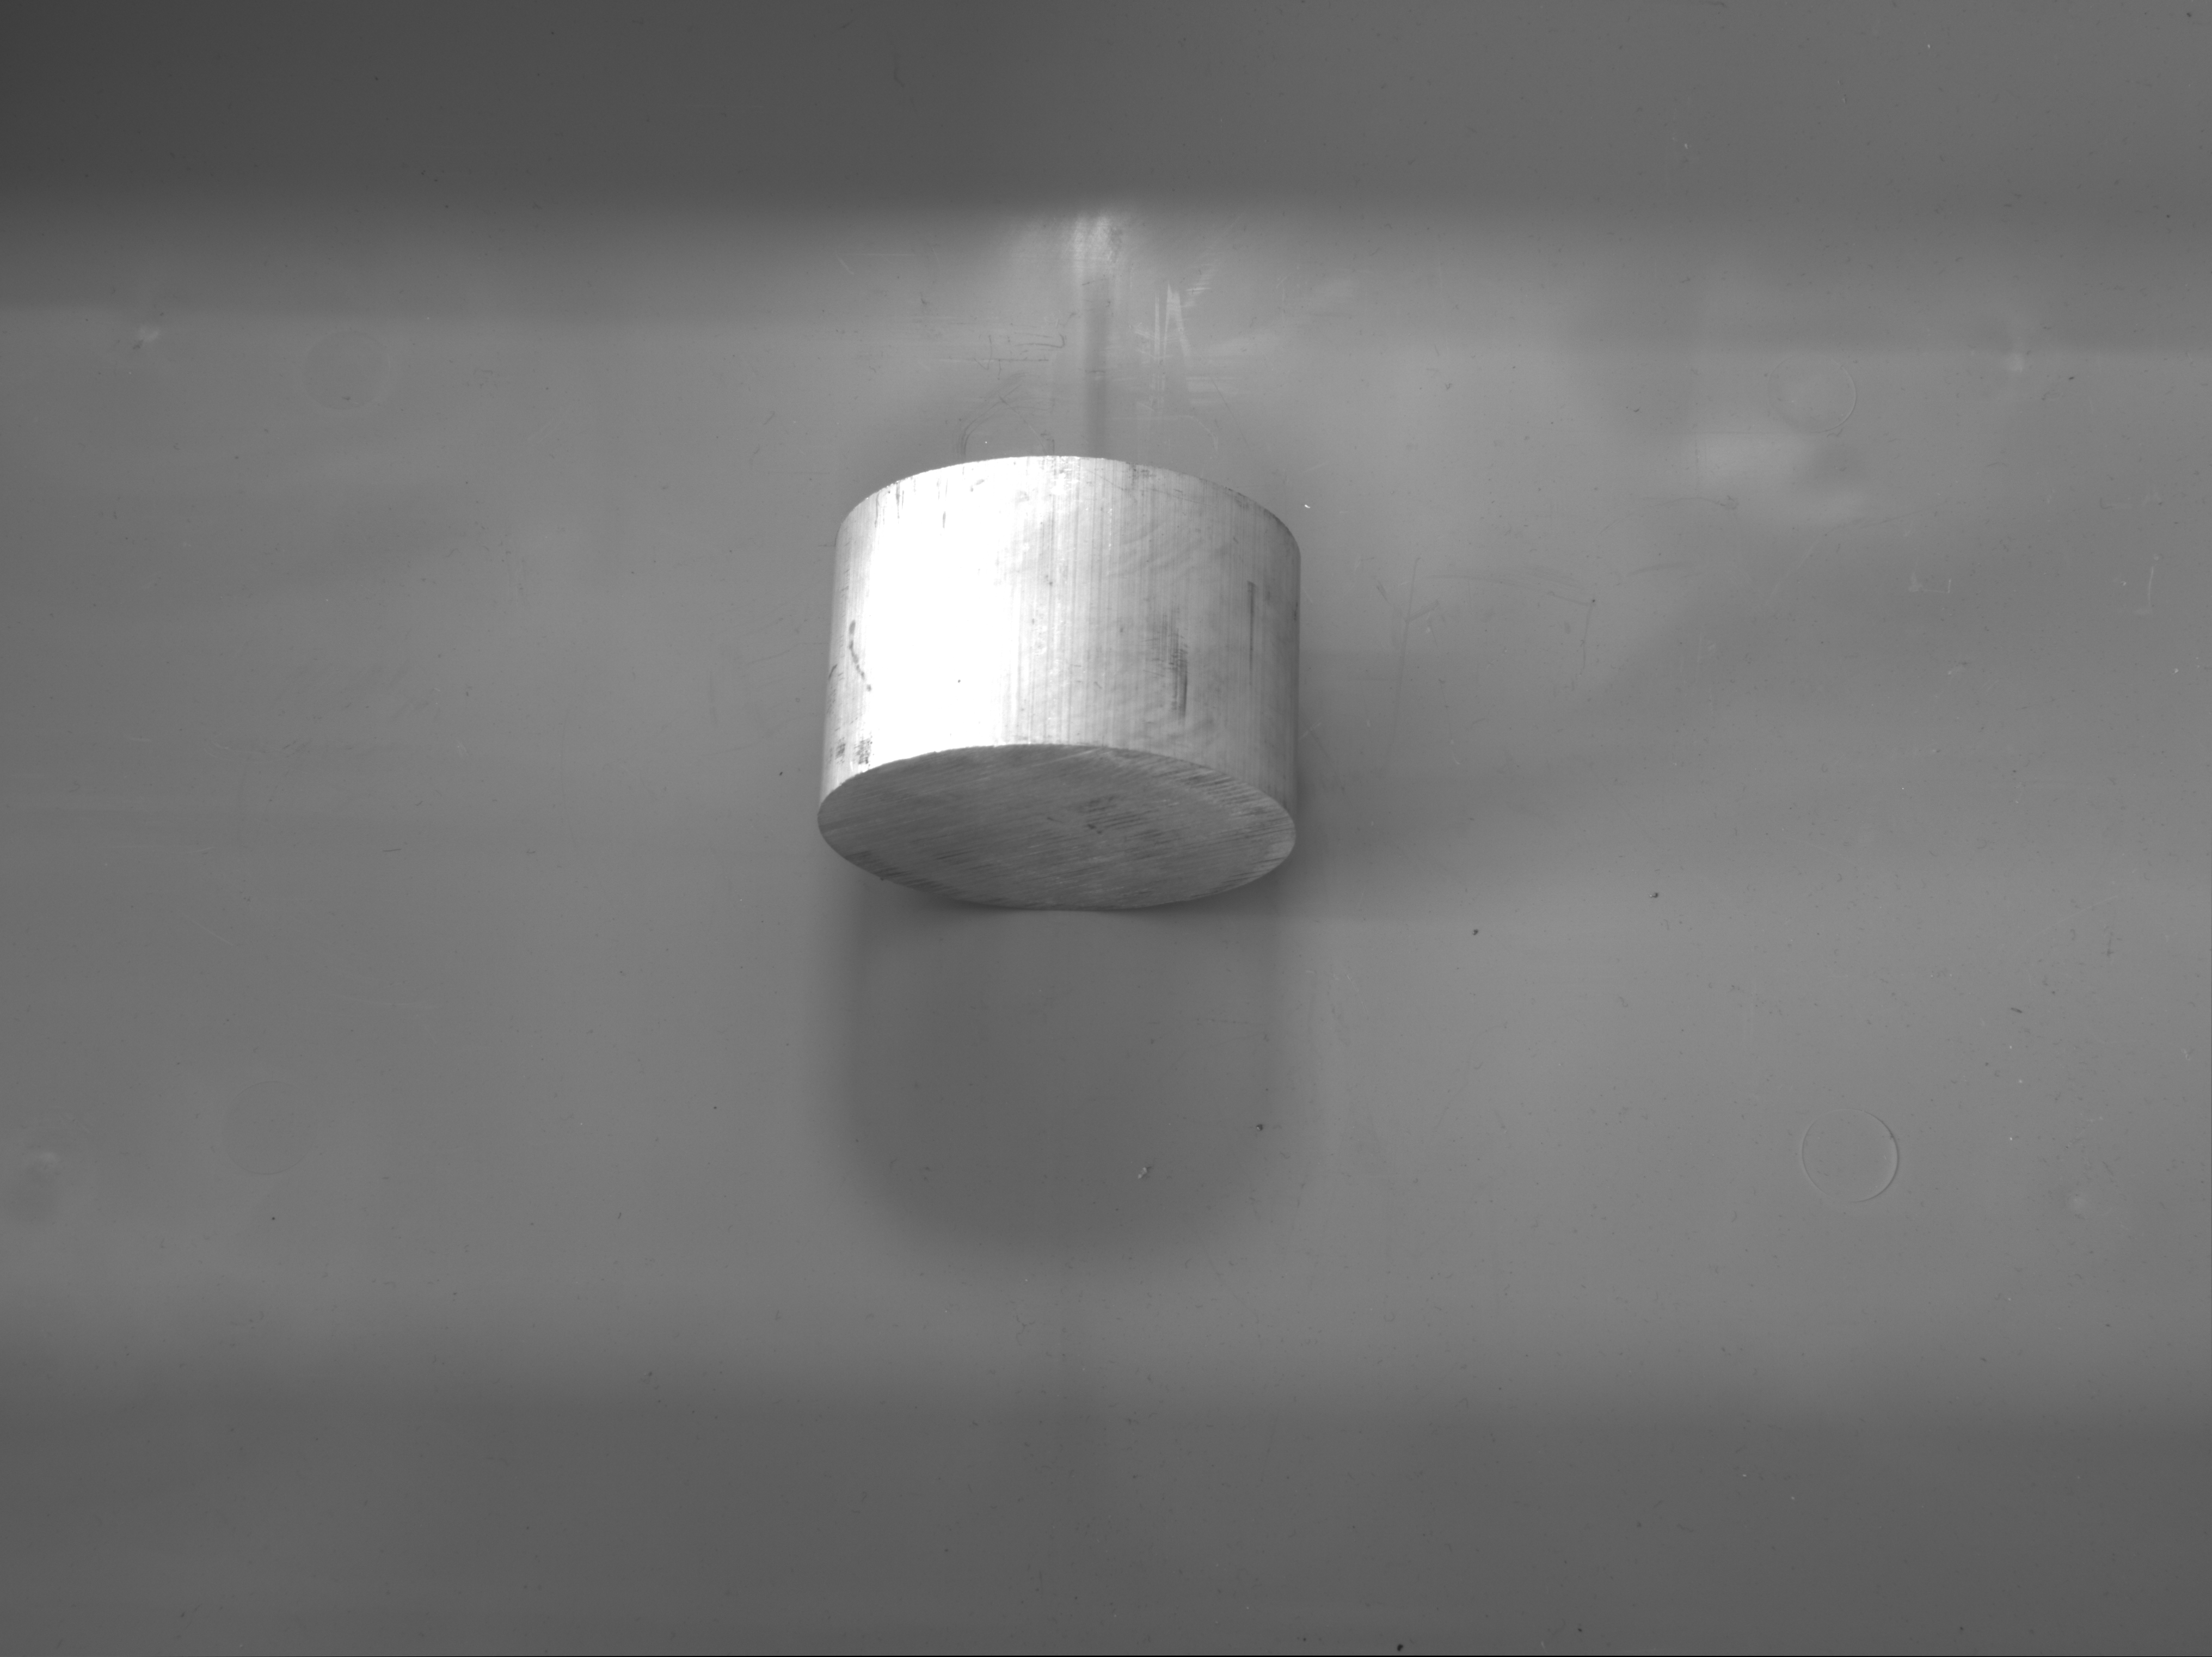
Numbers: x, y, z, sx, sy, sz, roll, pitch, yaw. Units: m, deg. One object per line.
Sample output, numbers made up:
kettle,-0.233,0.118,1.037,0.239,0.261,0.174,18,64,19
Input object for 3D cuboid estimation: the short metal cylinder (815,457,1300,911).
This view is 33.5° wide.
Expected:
short metal cylinder,-0.008,-0.023,0.622,0.080,0.080,0.050,2,70,1
